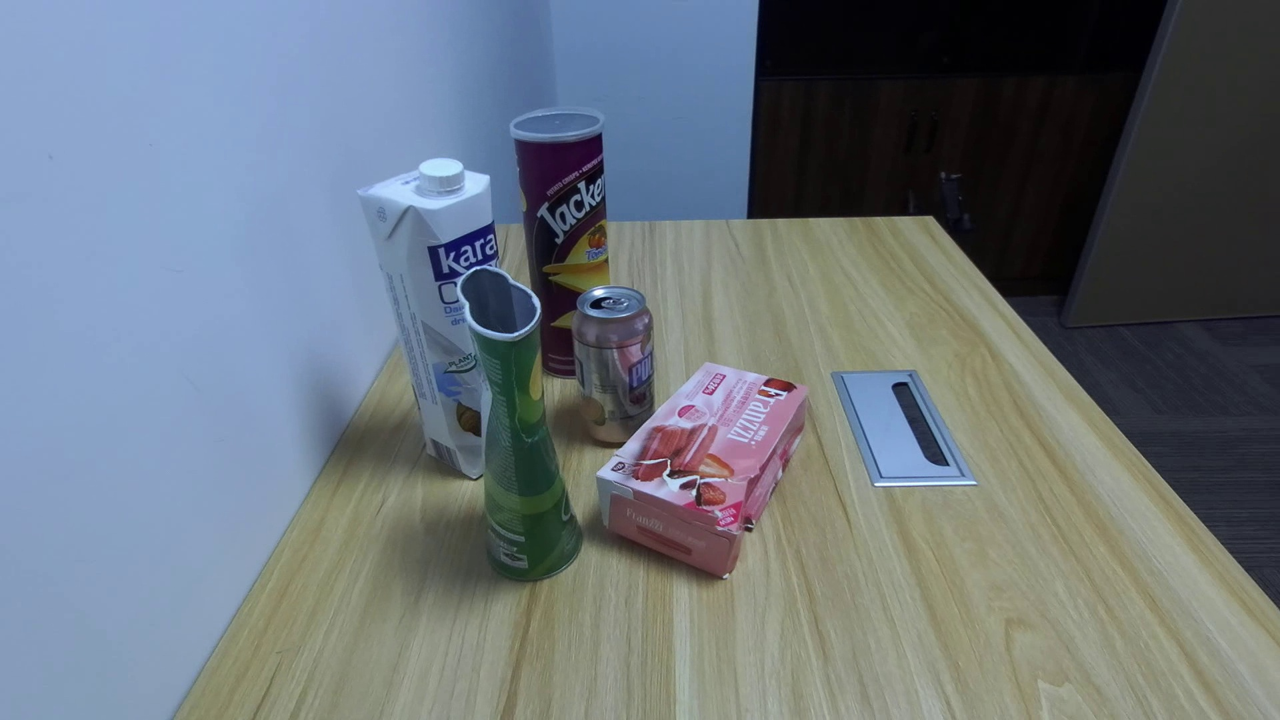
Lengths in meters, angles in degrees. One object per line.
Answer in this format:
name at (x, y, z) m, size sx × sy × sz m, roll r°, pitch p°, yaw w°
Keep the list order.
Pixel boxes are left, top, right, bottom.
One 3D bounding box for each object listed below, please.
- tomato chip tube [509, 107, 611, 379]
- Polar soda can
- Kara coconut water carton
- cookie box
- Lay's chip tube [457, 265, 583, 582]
tomato chip tube at (-0.065, -0.100, 0.653) m, size 0.078 × 0.234 × 0.078 m, roll -1°, pitch 34°, yaw 1°
Polar soda can at (-0.021, 0.004, 0.593) m, size 0.067 × 0.126 × 0.067 m, roll -1°, pitch 31°, yaw 1°
Kara coconut water carton at (-0.142, -0.030, 0.540) m, size 0.075 × 0.245 × 0.077 m, roll 22°, pitch 41°, yaw 33°
cookie box at (0.057, 0.069, 0.544) m, size 0.104 × 0.059 × 0.186 m, roll 16°, pitch 36°, yaw 22°
Lay's chip tube at (-0.079, 0.050, 0.455) m, size 0.074 × 0.200 × 0.069 m, roll 14°, pitch 36°, yaw 24°
